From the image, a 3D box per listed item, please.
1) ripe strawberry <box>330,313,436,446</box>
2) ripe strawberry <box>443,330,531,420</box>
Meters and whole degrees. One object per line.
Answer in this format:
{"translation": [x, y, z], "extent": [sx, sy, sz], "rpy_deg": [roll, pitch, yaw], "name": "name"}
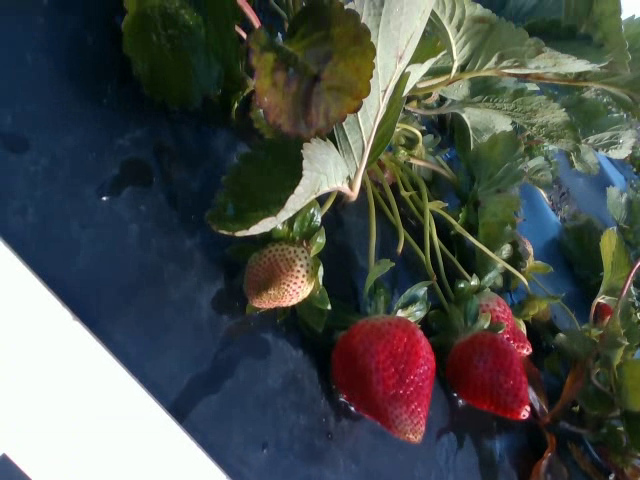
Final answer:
{"translation": [0.031, 0.059, 0.254], "extent": [0.050, 0.050, 0.065], "rpy_deg": [9, 25, -16], "name": "ripe strawberry"}
{"translation": [0.089, 0.074, 0.316], "extent": [0.044, 0.042, 0.055], "rpy_deg": [-15, 37, -19], "name": "ripe strawberry"}
